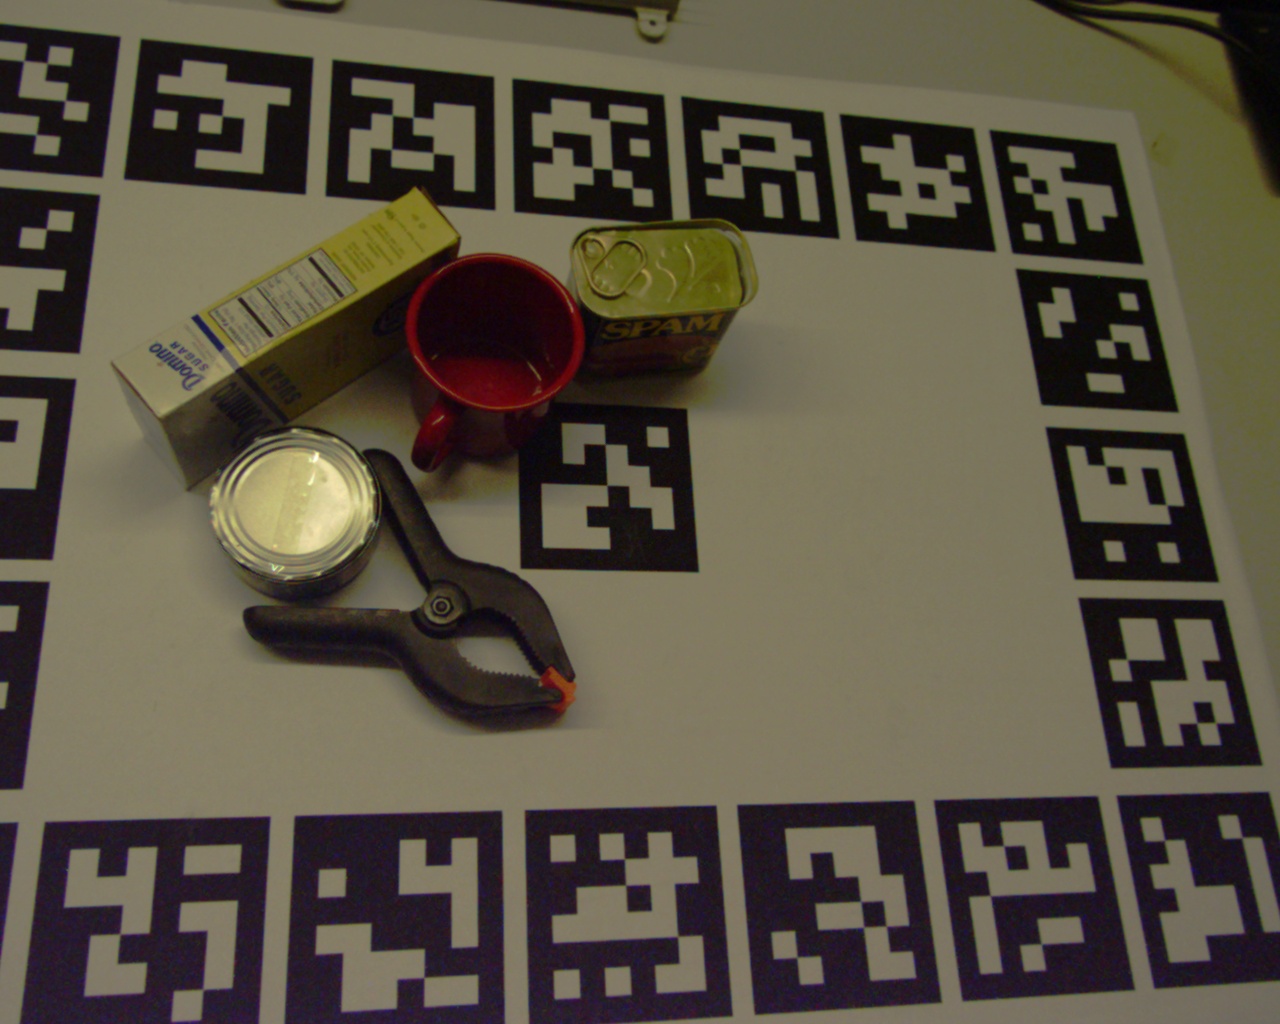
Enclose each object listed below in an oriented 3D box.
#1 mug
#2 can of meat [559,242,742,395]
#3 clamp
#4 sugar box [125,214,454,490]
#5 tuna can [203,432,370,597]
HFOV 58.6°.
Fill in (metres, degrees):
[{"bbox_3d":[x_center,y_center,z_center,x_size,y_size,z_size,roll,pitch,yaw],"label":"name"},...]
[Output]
[{"bbox_3d":[-0.095,-0.071,0.639,0.093,0.082,0.117,26,69,-4],"label":"mug"},{"bbox_3d":[-0.002,-0.114,0.684,0.101,0.084,0.058,-6,72,-17],"label":"can of meat"},{"bbox_3d":[-0.115,0.059,0.623,0.165,0.037,0.121,36,63,-3],"label":"clamp"},{"bbox_3d":[-0.187,-0.088,0.628,0.175,0.093,0.045,-37,82,-23],"label":"sugar box"},{"bbox_3d":[-0.191,0.002,0.620,0.085,0.034,0.086,3,72,-12],"label":"tuna can"}]
